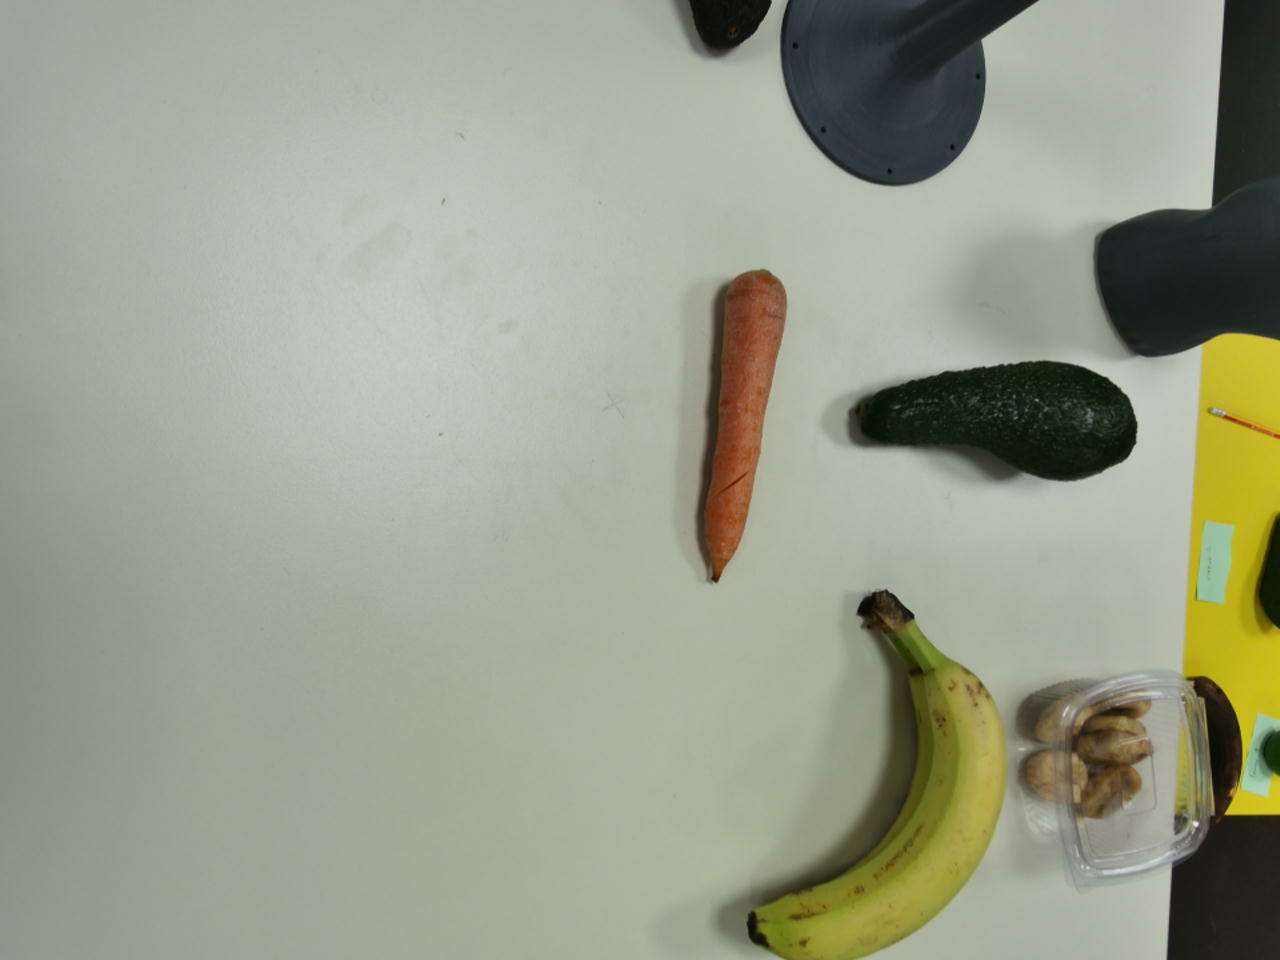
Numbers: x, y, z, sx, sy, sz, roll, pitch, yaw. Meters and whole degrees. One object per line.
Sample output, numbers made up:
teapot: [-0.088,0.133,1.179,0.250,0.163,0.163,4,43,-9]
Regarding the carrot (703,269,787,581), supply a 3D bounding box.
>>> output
carrot: [0.065,-0.033,0.620,0.039,0.041,0.196,6,88,-22]
